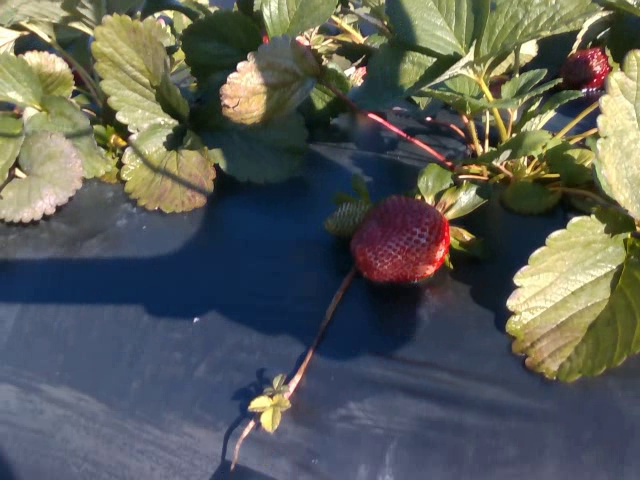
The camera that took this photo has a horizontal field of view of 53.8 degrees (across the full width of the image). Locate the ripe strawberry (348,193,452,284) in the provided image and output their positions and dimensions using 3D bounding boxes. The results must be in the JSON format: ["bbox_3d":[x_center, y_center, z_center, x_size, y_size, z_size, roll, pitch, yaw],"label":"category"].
[{"bbox_3d":[0.030,0.002,0.247,0.042,0.043,0.053,23,23,26],"label":"ripe strawberry"}]
